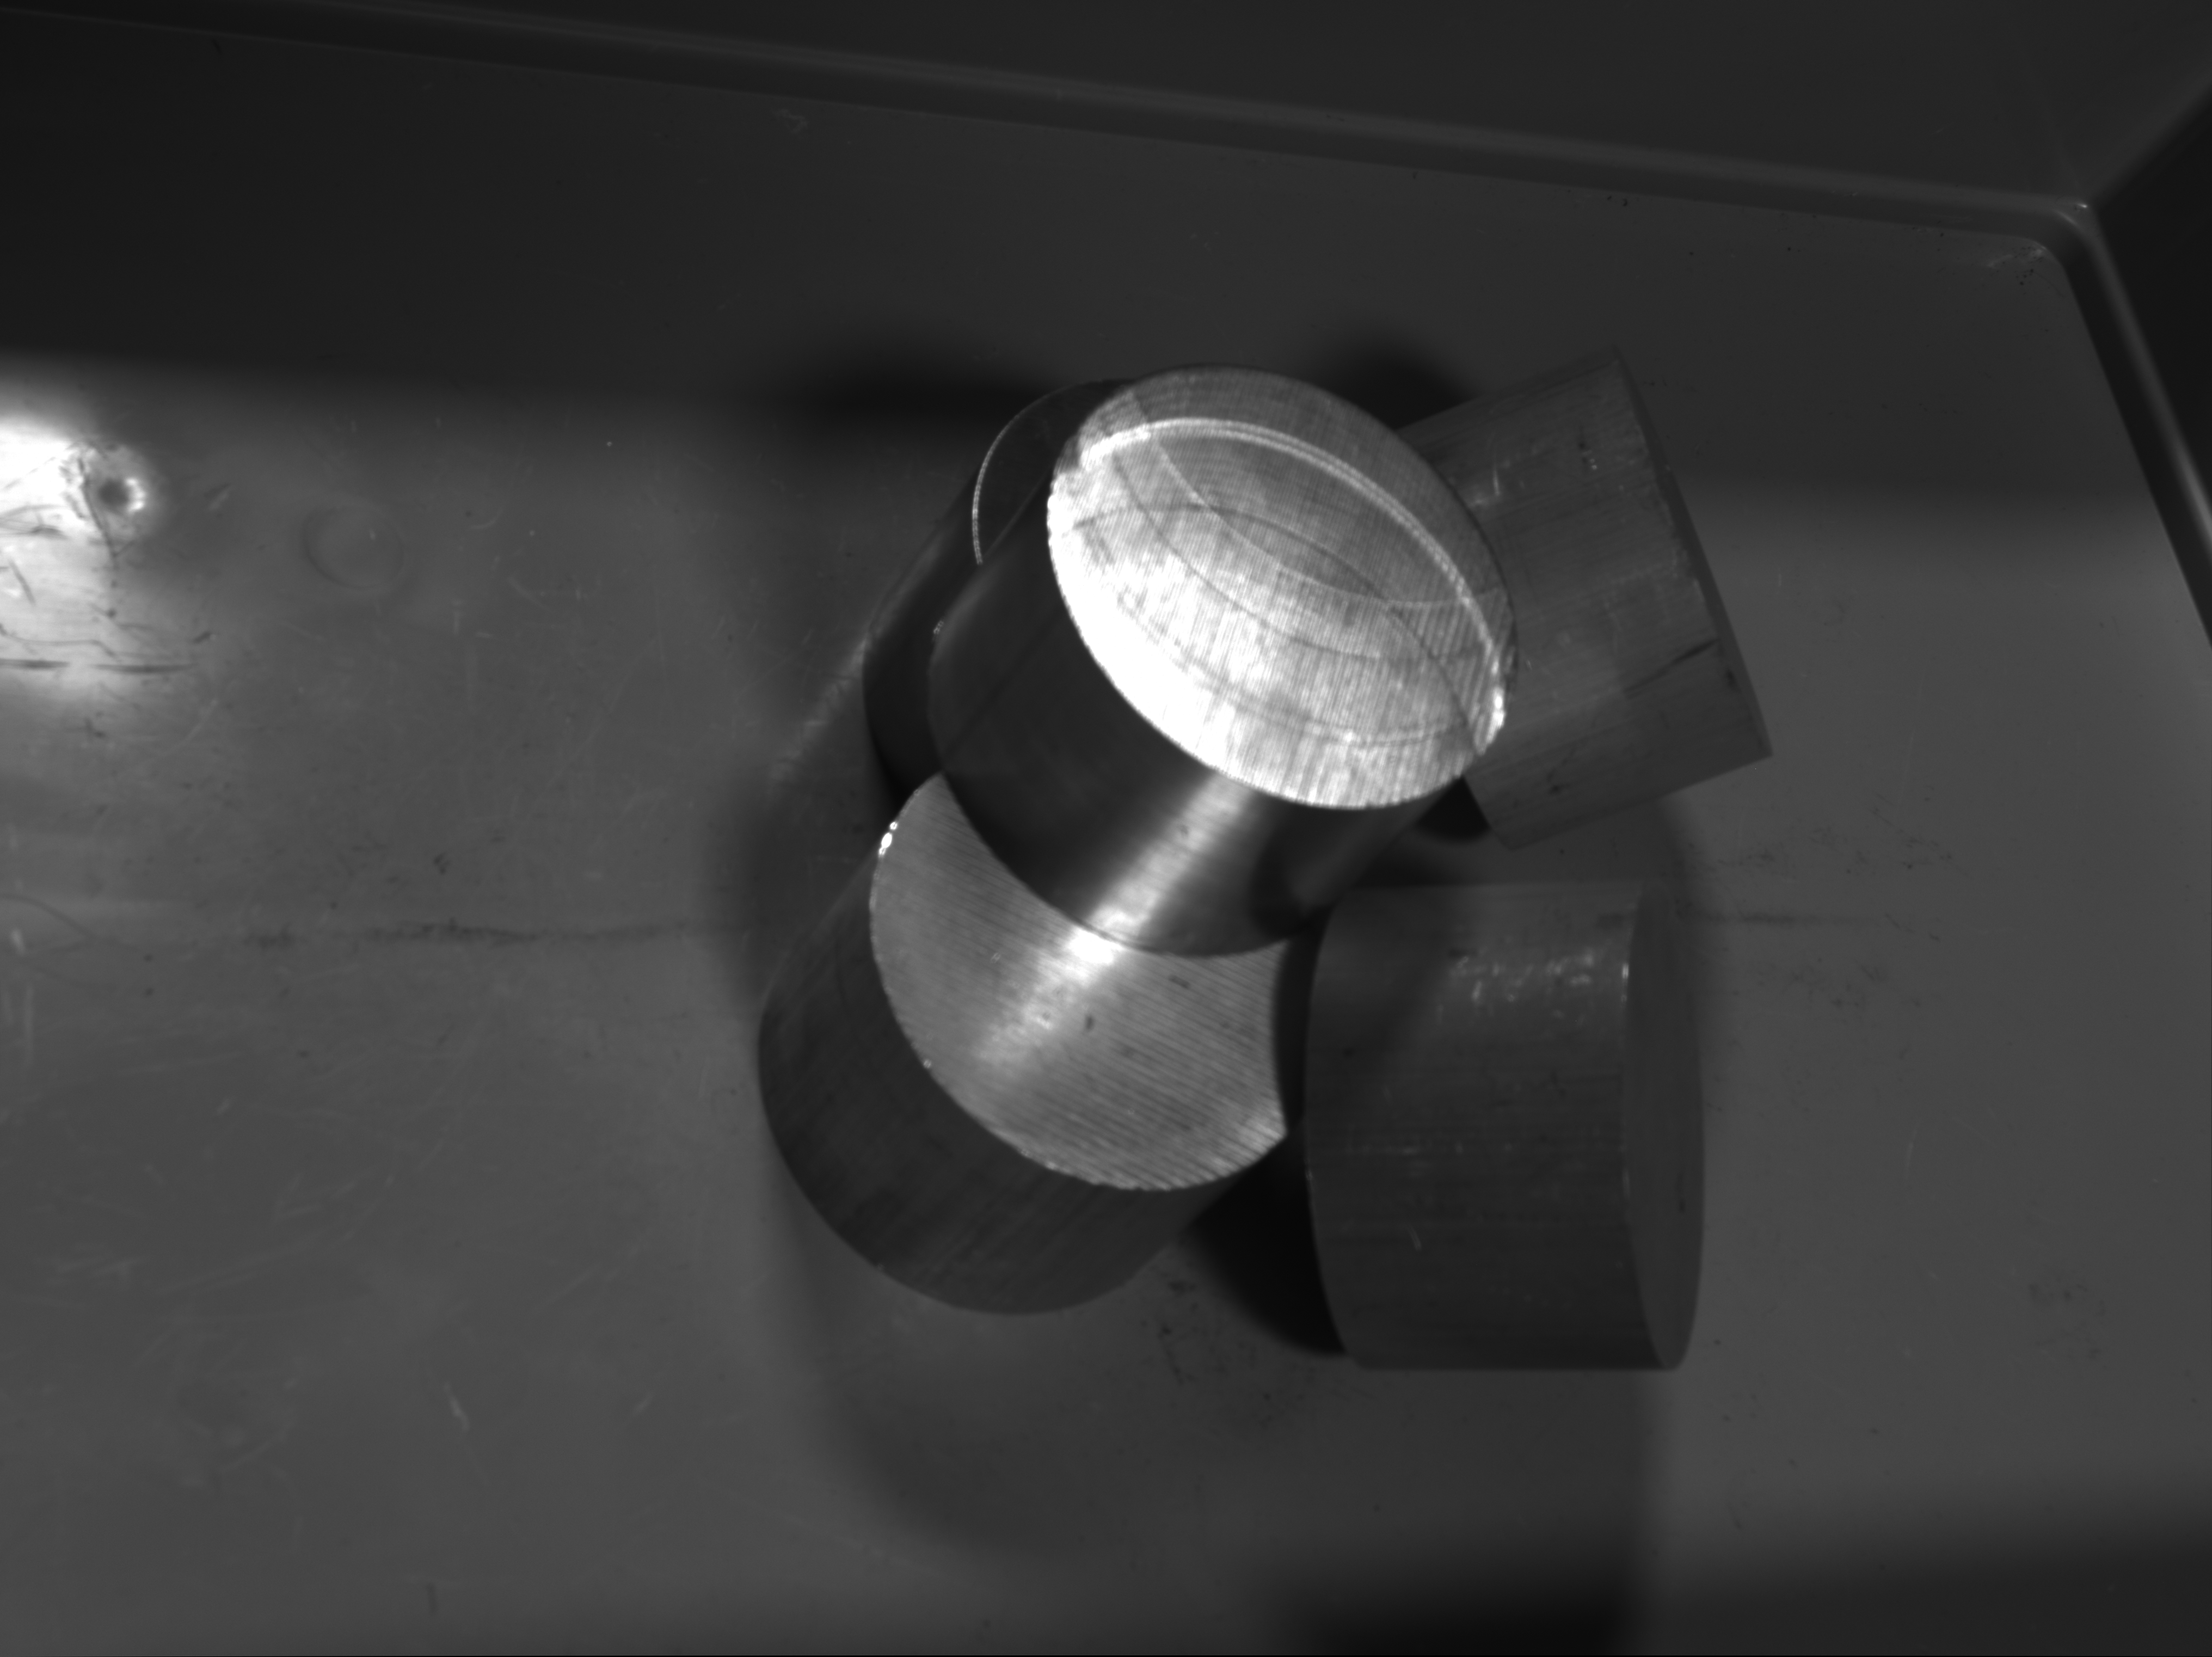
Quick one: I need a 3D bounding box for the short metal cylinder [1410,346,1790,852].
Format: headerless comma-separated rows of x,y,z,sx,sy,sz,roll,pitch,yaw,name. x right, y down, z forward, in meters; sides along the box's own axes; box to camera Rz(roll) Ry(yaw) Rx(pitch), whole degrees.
0.086,-0.042,0.668,0.080,0.050,0.080,-21,90,-77,short metal cylinder

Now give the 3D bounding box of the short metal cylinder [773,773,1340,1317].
-0.008,0.033,0.599,0.080,0.050,0.080,14,56,-21,short metal cylinder

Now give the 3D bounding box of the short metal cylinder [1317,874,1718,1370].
0.069,0.048,0.602,0.050,0.080,0.080,-2,53,18,short metal cylinder

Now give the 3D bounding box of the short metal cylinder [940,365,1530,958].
0.020,-0.026,0.583,0.080,0.050,0.080,14,56,-21,short metal cylinder

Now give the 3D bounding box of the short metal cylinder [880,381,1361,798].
0.007,-0.031,0.645,0.080,0.050,0.080,14,56,-21,short metal cylinder
